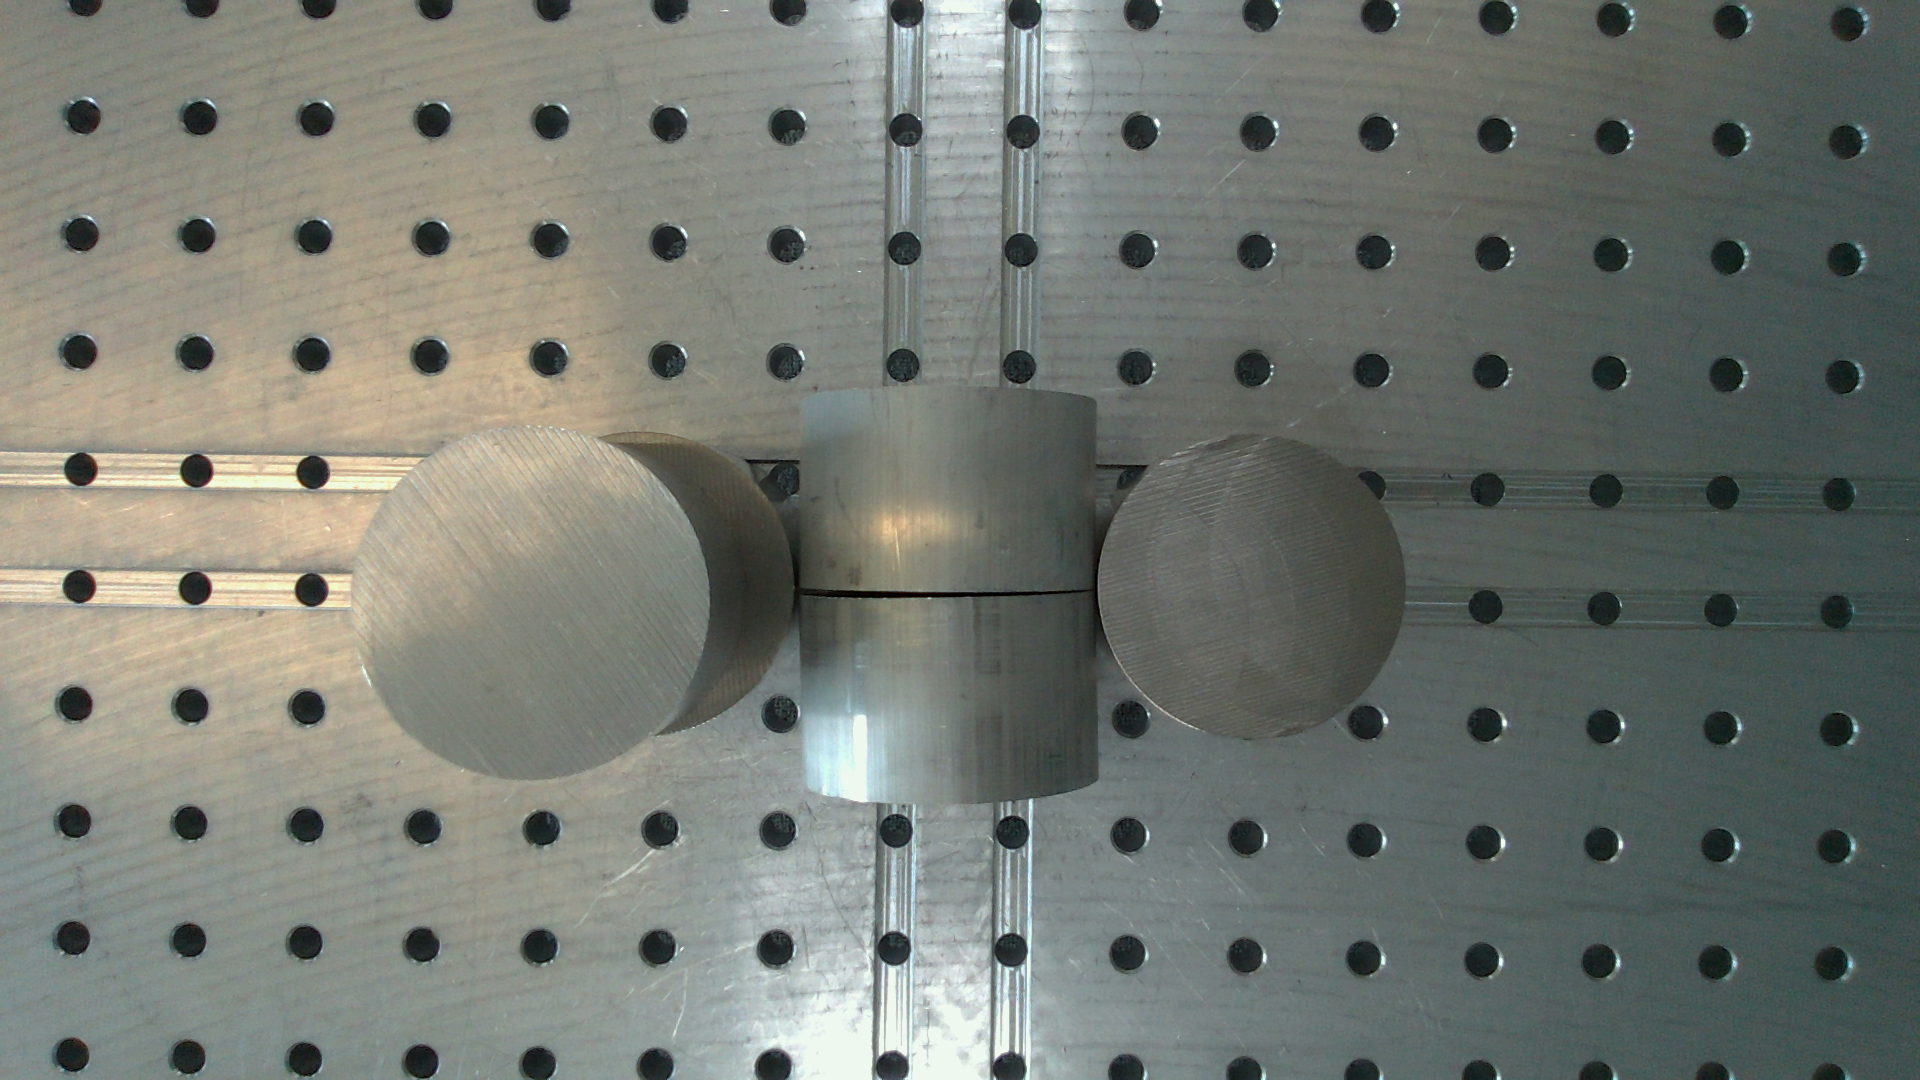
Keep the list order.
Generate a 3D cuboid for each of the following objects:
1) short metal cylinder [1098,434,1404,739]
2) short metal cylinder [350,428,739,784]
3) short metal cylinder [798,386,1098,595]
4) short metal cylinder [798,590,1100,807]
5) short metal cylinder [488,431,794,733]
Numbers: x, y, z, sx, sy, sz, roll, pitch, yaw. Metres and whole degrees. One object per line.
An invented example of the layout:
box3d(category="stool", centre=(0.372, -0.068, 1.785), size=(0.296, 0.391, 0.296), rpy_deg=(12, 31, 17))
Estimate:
box3d(category="short metal cylinder", centre=(0.076, 0.012, 0.385), size=(0.080, 0.050, 0.080), rpy_deg=(0, 90, 0))
box3d(category="short metal cylinder", centre=(-0.097, 0.015, 0.333), size=(0.080, 0.050, 0.080), rpy_deg=(0, 90, 0))
box3d(category="short metal cylinder", centre=(-0.003, -0.013, 0.371), size=(0.080, 0.080, 0.050), rpy_deg=(1, 91, 0))
box3d(category="short metal cylinder", centre=(-0.003, 0.039, 0.370), size=(0.080, 0.080, 0.050), rpy_deg=(-1, 90, 0))
box3d(category="short metal cylinder", centre=(-0.084, 0.011, 0.385), size=(0.080, 0.050, 0.080), rpy_deg=(0, 90, 0))
